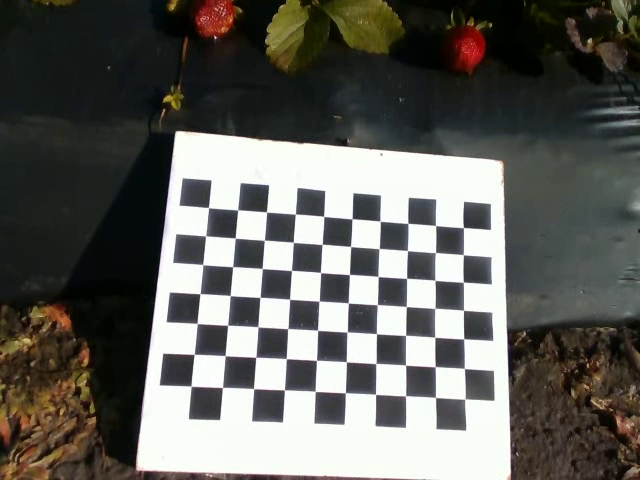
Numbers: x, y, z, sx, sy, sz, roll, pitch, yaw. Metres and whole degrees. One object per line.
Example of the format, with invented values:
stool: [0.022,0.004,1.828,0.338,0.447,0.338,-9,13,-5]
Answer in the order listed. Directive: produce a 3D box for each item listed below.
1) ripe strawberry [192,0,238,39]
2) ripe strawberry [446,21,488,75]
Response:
ripe strawberry: [-0.091,-0.180,0.492,0.041,0.043,0.053,16,32,-6]
ripe strawberry: [0.114,-0.156,0.500,0.042,0.043,0.050,39,28,0]
